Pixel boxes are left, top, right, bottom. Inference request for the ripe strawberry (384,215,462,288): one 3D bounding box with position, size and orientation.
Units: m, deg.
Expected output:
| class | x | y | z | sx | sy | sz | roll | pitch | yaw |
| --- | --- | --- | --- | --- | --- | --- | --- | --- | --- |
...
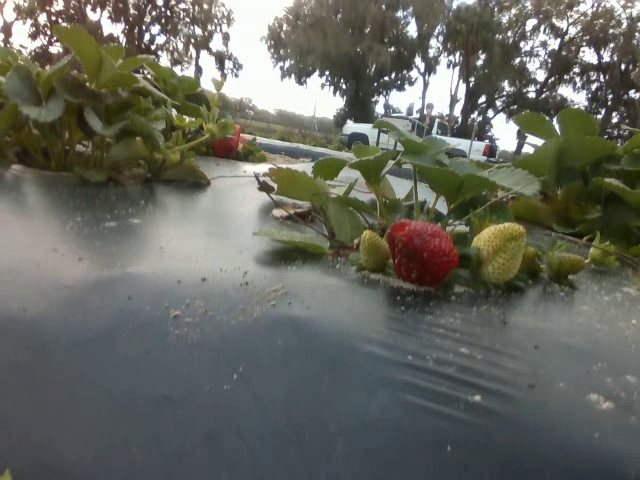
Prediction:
| class | x | y | z | sx | sy | sz | roll | pitch | yaw |
| --- | --- | --- | --- | --- | --- | --- | --- | --- | --- |
| ripe strawberry | 0.057 | 0.007 | 0.354 | 0.047 | 0.045 | 0.059 | 6 | -17 | 27 |
